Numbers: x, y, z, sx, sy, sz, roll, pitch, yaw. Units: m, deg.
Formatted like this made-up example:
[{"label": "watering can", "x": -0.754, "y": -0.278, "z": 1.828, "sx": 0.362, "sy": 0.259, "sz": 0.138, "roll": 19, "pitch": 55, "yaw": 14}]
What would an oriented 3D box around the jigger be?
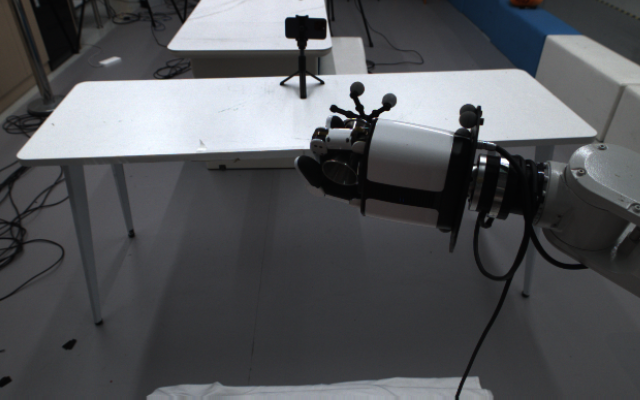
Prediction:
[{"label": "jigger", "x": 0.033, "y": -0.060, "z": 0.555, "sx": 0.043, "sy": 0.043, "sz": 0.071, "roll": 15, "pitch": 58, "yaw": 18}]
